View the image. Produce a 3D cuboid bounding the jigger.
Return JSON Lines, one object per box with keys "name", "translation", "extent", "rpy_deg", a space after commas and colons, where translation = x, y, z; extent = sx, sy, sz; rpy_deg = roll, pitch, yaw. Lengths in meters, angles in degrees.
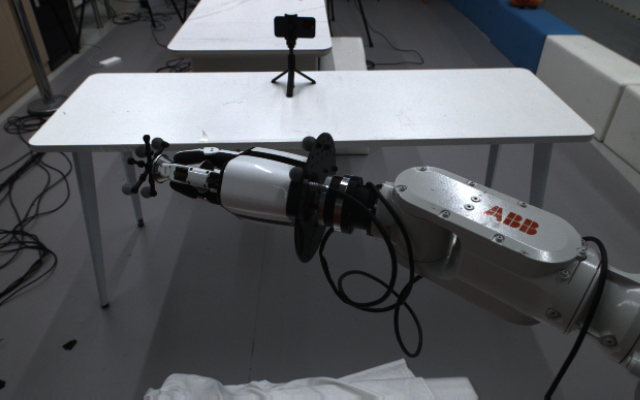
{"name": "jigger", "translation": [-0.175, -0.039, 0.635], "extent": [0.071, 0.043, 0.043], "rpy_deg": [10, 35, 16]}
